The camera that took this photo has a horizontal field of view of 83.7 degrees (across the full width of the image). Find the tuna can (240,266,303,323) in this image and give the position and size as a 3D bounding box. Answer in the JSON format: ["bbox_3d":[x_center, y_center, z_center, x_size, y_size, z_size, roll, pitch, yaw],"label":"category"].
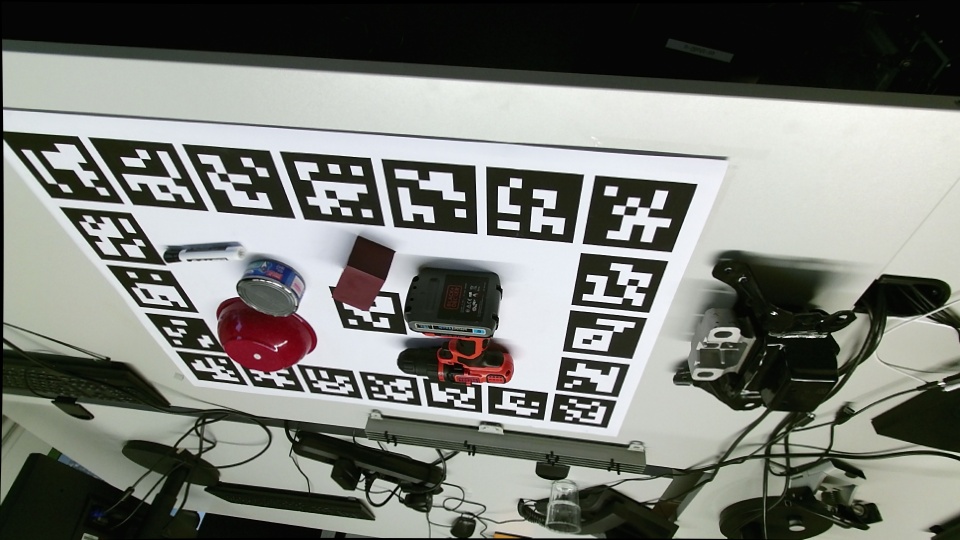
[{"bbox_3d":[-0.294,0.034,0.748,0.086,0.033,0.086,7,137,7],"label":"tuna can"}]

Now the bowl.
[{"bbox_3d":[-0.341,0.119,0.848,0.162,0.055,0.162,4,144,3],"label":"bowl"}]

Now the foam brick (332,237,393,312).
[{"bbox_3d":[-0.152,0.006,0.686,0.051,0.052,0.078,22,135,-11],"label":"foam brick"}]

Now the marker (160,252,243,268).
[{"bbox_3d":[-0.379,-0.013,0.724,0.121,0.019,0.020,-2,134,14],"label":"marker"}]

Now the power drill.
[{"bbox_3d":[-0.035,0.097,0.753,0.185,0.057,0.187,7,140,10],"label":"power drill"}]
